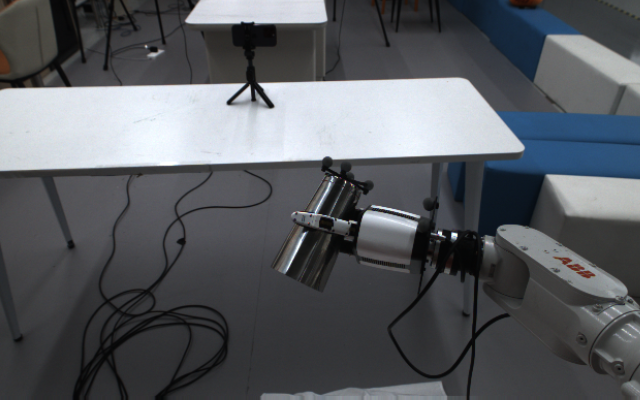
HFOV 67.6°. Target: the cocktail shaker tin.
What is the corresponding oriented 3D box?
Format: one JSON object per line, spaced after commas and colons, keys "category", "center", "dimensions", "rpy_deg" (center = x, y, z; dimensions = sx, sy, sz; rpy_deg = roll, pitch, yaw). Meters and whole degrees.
{"category": "cocktail shaker tin", "center": [0.002, 0.046, 0.767], "dimensions": [0.093, 0.093, 0.170], "rpy_deg": [21, 81, 25]}
